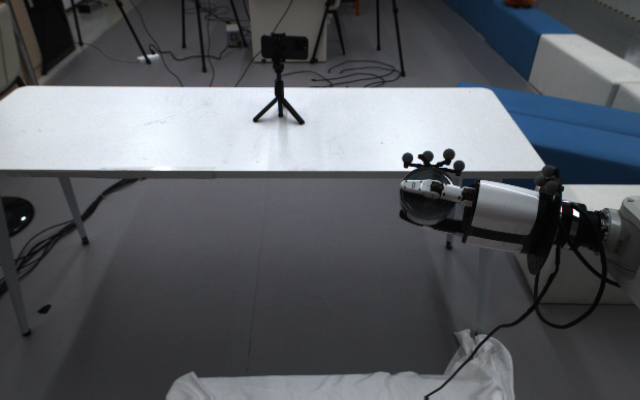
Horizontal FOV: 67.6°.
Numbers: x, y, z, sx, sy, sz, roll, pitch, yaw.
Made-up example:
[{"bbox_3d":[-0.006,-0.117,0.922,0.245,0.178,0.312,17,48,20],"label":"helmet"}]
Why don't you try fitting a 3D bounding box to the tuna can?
[{"bbox_3d":[0.165,-0.010,0.742,0.085,0.034,0.085,-2,70,7],"label":"tuna can"}]
